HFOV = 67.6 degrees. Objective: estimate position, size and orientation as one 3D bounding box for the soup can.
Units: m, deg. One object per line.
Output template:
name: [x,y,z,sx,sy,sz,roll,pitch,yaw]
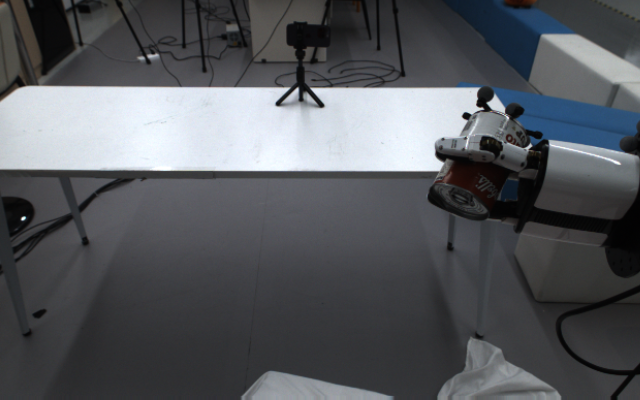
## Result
soup can: [0.174,-0.038,0.522,0.067,0.067,0.101,23,73,27]
